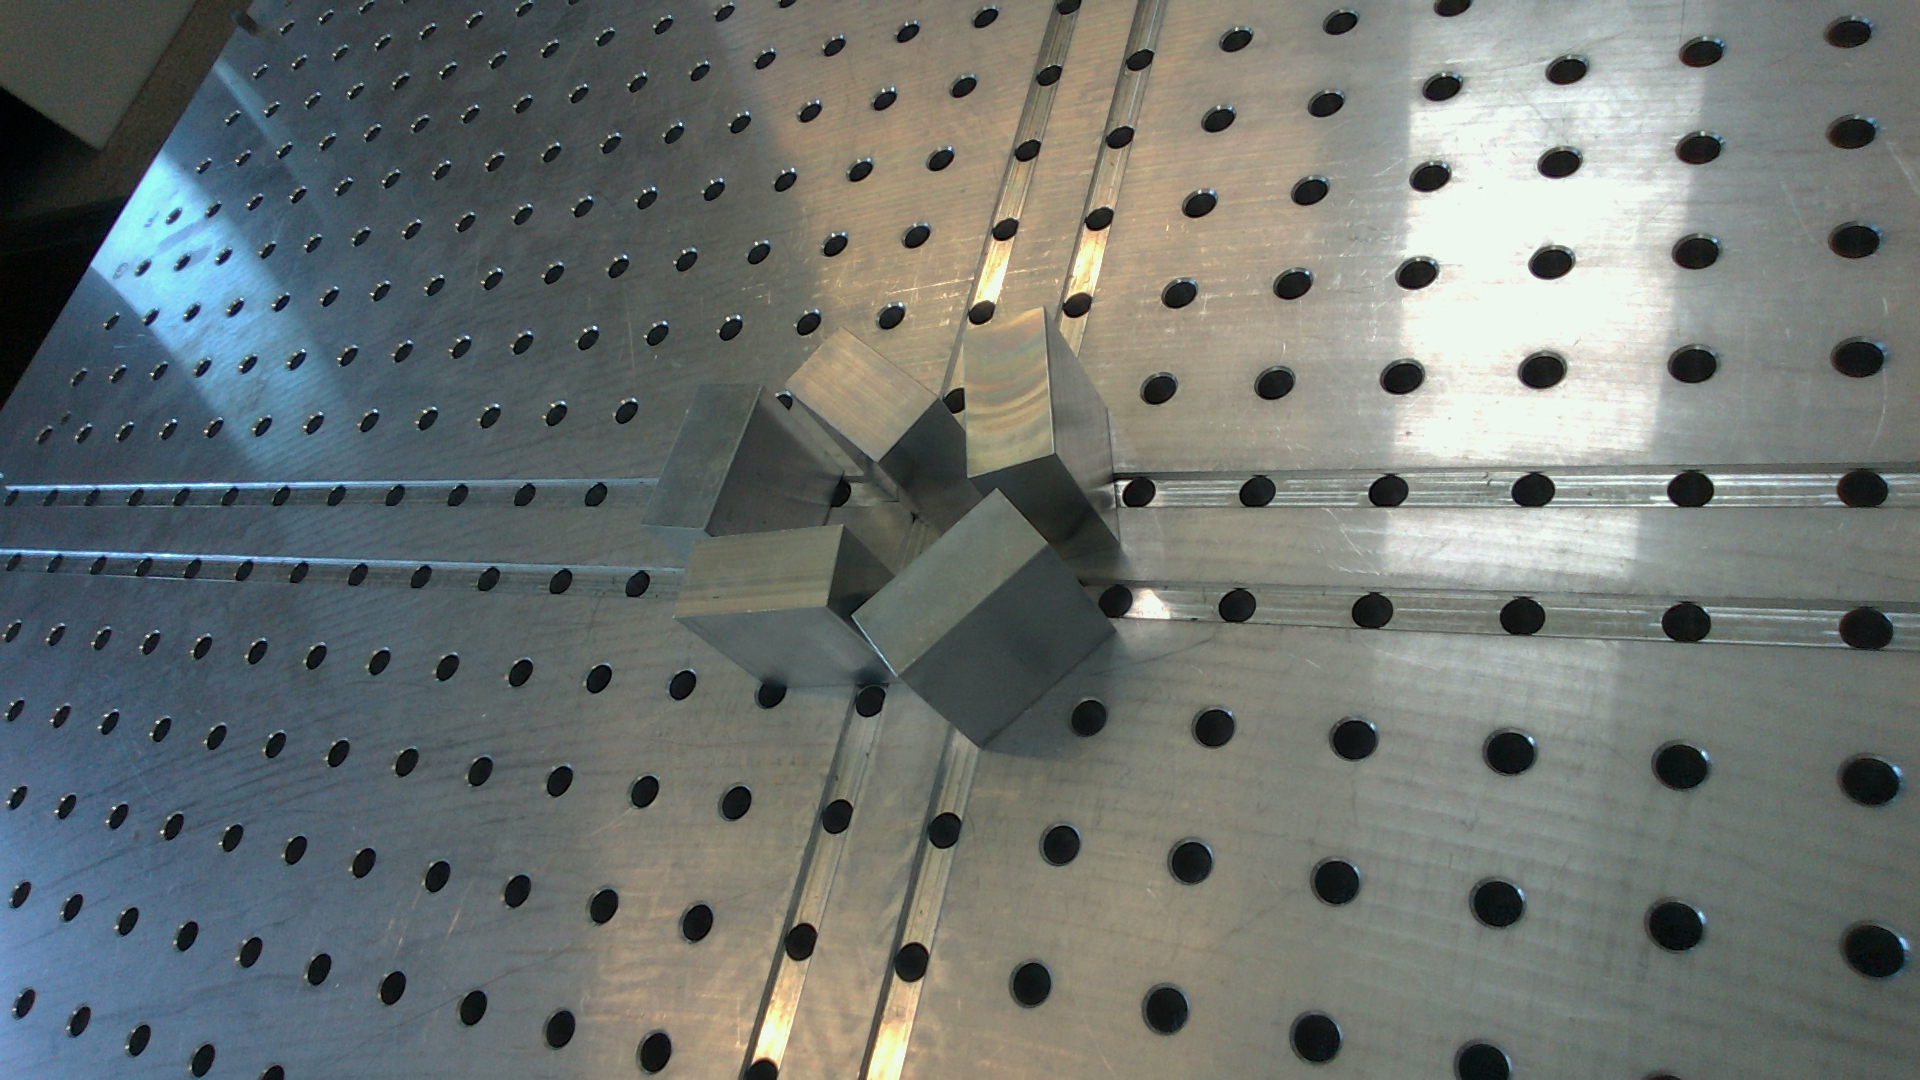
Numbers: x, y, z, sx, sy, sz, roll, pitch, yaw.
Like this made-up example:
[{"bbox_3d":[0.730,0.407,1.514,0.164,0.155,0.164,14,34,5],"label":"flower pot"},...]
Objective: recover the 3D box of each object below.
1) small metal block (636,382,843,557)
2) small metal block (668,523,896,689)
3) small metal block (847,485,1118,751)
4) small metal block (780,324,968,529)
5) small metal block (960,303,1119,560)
[{"bbox_3d":[-0.066,-0.014,0.425,0.025,0.050,0.050,3,64,30],"label":"small metal block"},{"bbox_3d":[-0.046,0.020,0.392,0.050,0.050,0.025,-5,59,26],"label":"small metal block"},{"bbox_3d":[0.007,0.022,0.363,0.050,0.050,0.025,-41,50,0],"label":"small metal block"},{"bbox_3d":[-0.019,-0.031,0.410,0.025,0.050,0.050,-48,51,-4],"label":"small metal block"},{"bbox_3d":[0.022,-0.028,0.385,0.025,0.050,0.050,-15,55,20],"label":"small metal block"}]
